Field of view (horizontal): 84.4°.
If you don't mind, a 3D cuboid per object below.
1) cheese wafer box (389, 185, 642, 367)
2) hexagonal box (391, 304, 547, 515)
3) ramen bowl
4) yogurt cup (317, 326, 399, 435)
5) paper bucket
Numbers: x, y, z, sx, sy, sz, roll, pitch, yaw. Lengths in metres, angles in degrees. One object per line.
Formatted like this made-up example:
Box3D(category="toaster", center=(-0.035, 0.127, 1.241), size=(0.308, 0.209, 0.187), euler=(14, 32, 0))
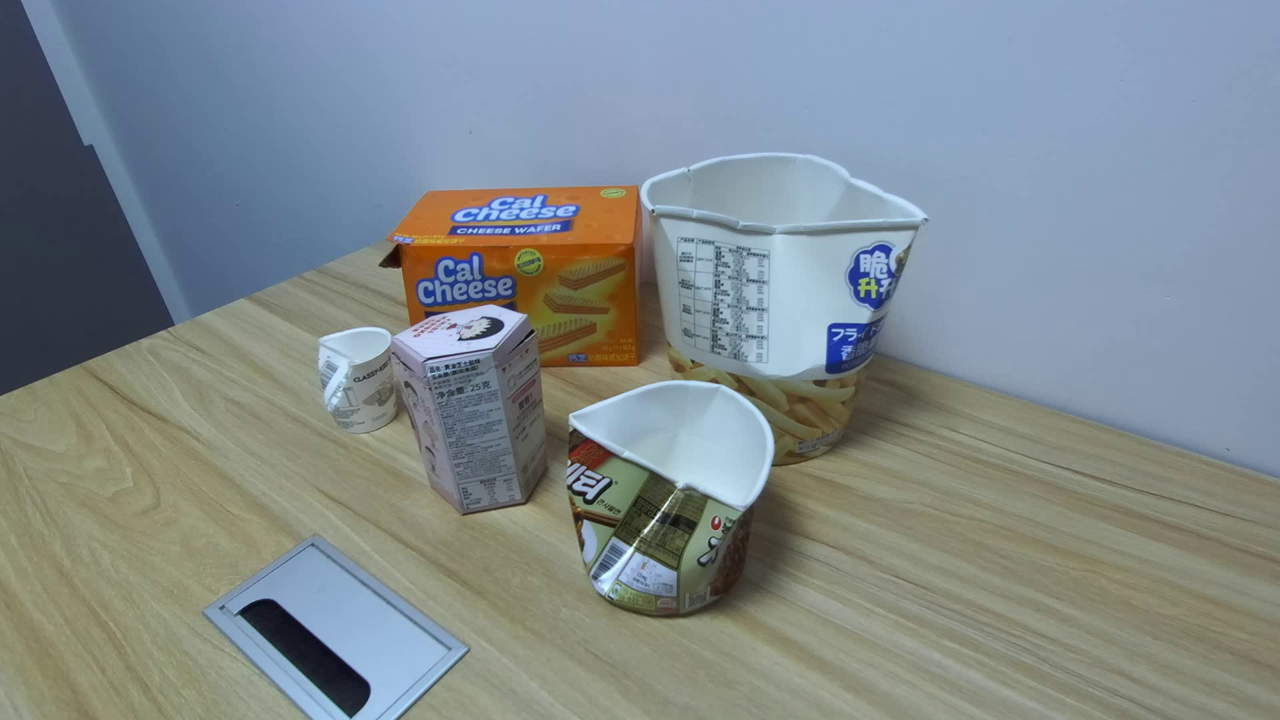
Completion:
Box3D(category="cheese wafer box", center=(-0.110, -0.086, 0.696), size=(0.227, 0.137, 0.149), euler=(0, 34, 3))
Box3D(category="hexagonal box", center=(-0.117, 0.034, 0.513), size=(0.085, 0.135, 0.092), euler=(9, 35, 19))
Box3D(category="ramen bowl", center=(0.024, 0.088, 0.456), size=(0.137, 0.098, 0.137), euler=(1, 36, 0))
Box3D(category="yogurt cup", center=(-0.238, 0.018, 0.603), size=(0.067, 0.070, 0.067), euler=(-2, 32, 1))
Box3D(category="paper bucket", center=(0.091, -0.037, 0.551), size=(0.163, 0.202, 0.168), euler=(-13, 32, -15))
